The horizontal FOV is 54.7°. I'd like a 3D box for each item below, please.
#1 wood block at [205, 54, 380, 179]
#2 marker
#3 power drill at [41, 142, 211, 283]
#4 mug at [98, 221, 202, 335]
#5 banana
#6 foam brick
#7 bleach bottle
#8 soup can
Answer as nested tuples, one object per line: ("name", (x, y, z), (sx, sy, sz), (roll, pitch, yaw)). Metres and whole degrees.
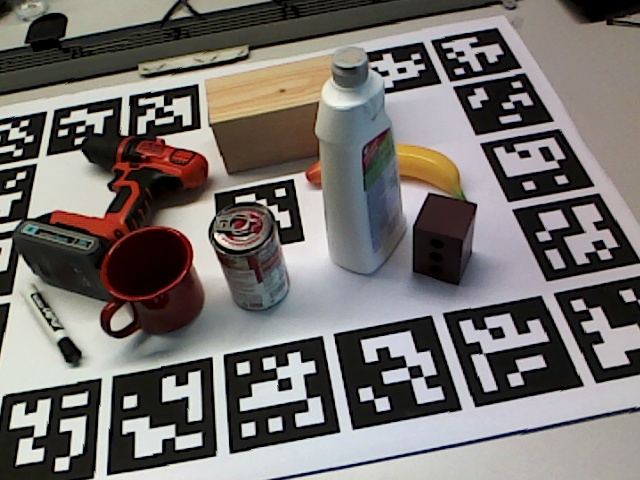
("wood block", (-0.033, -0.160, 0.793), (0.206, 0.090, 0.090), (-12, 51, -2))
("marker", (-0.289, 0.095, 0.667), (0.019, 0.019, 0.122), (-36, 56, -18))
("power drill", (-0.248, -0.041, 0.752), (0.185, 0.057, 0.187), (14, 53, 14))
("mug", (-0.179, 0.049, 0.645), (0.094, 0.081, 0.117), (26, 62, 23))
("banana", (0.063, -0.094, 0.754), (0.198, 0.039, 0.074), (2, 65, 7))
("foam brick", (0.129, 0.001, 0.647), (0.053, 0.078, 0.051), (15, 52, 22))
("bleach bottle", (0.036, -0.074, 0.608), (0.068, 0.250, 0.102), (12, 52, 18))
("soup can", (-0.075, 0.016, 0.638), (0.068, 0.101, 0.068), (-4, 46, 3))
